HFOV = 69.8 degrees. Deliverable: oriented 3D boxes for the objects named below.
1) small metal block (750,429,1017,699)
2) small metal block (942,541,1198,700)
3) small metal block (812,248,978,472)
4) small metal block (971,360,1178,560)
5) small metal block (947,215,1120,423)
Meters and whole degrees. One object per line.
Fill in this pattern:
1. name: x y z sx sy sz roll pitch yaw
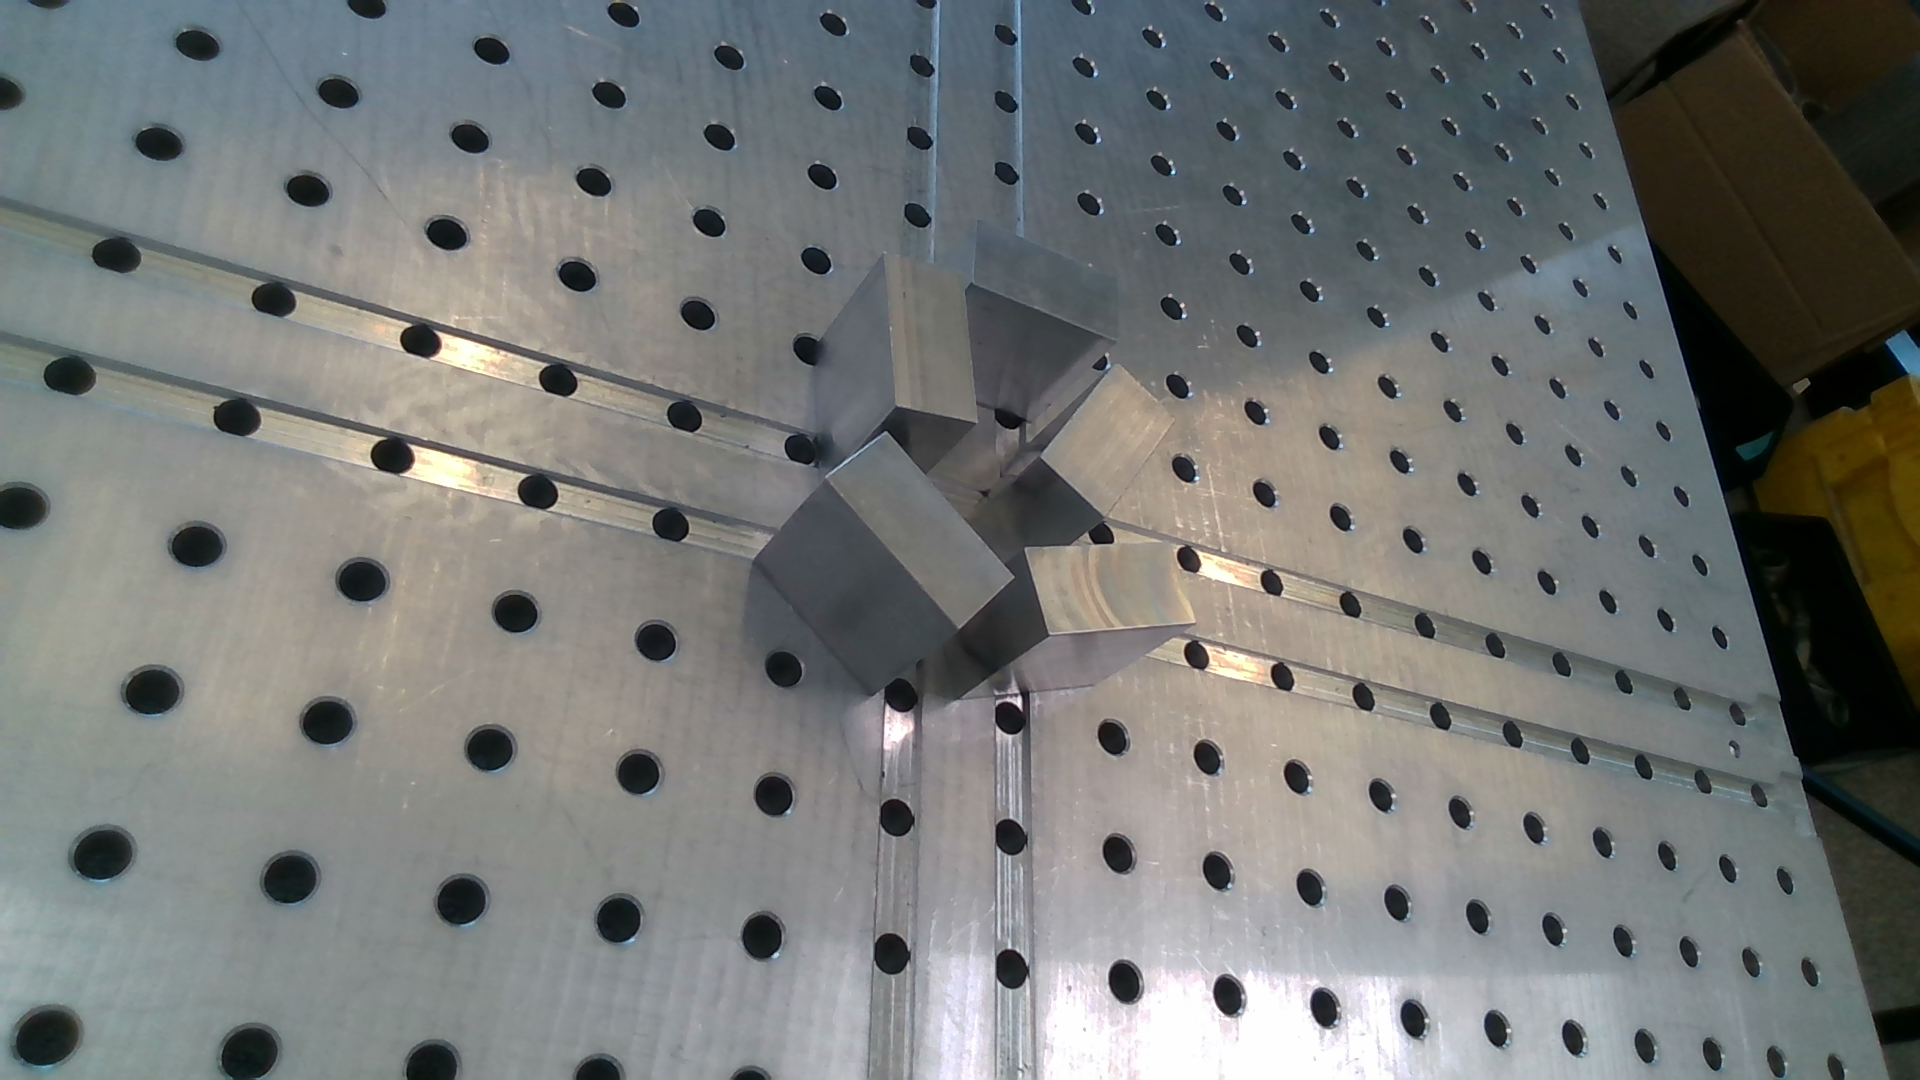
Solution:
1. small metal block: -0.021 0.007 0.362 0.050 0.050 0.025 49 50 0
2. small metal block: 0.029 0.023 0.385 0.050 0.050 0.025 -2 66 -33
3. small metal block: -0.020 -0.045 0.392 0.025 0.050 0.050 9 61 -28
4. small metal block: 0.031 -0.019 0.409 0.025 0.050 0.050 42 51 -4
5. small metal block: 0.014 -0.066 0.424 0.050 0.050 0.025 17 57 -23
